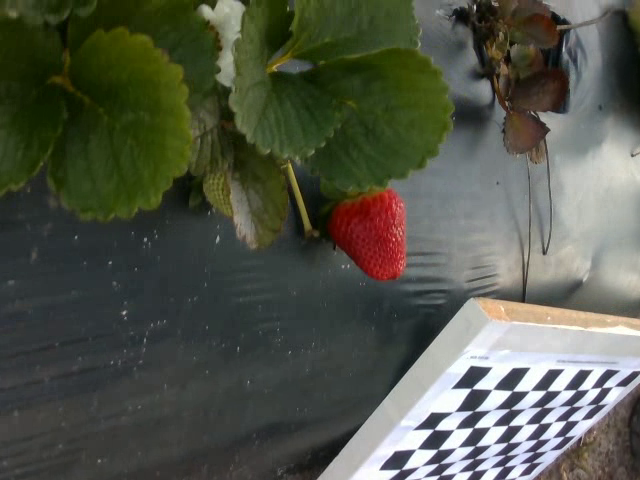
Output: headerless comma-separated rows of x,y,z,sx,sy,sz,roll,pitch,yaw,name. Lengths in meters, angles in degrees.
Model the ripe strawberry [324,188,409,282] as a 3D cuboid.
0.028,-0.002,0.312,0.045,0.055,0.042,-27,-15,-2,ripe strawberry
